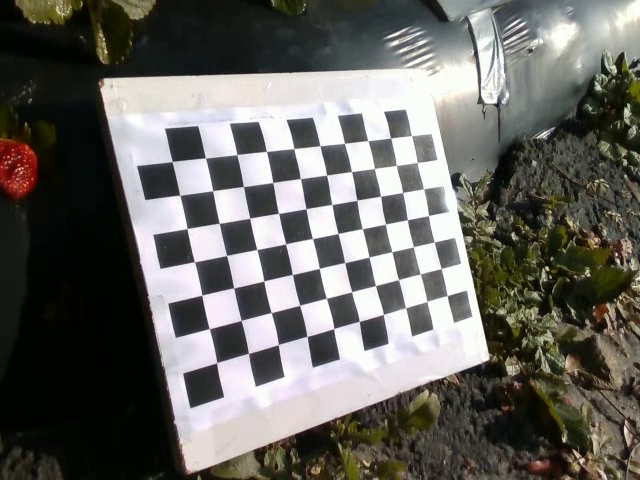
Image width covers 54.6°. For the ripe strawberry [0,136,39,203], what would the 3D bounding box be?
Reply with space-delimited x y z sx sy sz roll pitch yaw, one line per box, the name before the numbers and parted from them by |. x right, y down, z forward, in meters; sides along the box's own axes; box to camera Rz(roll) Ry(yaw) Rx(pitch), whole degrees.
ripe strawberry | -0.068 -0.016 0.135 0.015 0.015 0.023 -2 32 -31
